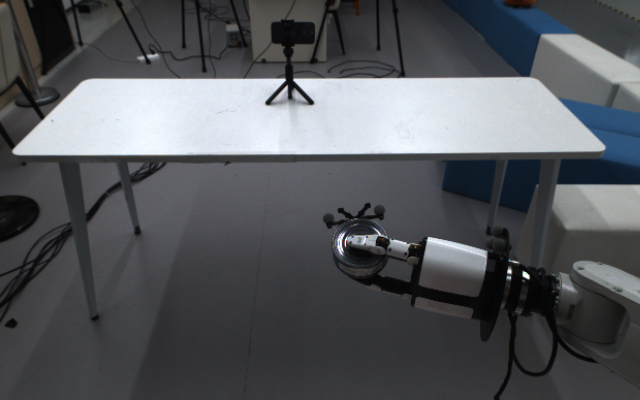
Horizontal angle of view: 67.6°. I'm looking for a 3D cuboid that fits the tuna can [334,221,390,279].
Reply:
[{"bbox_3d":[0.064,0.076,0.714,0.085,0.034,0.085,-3,58,5],"label":"tuna can"}]
